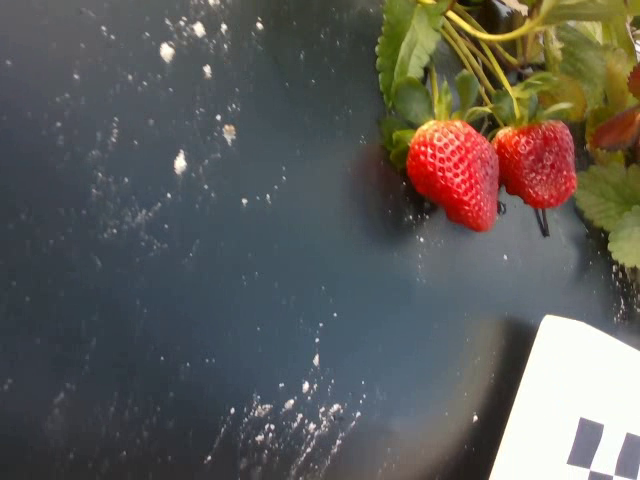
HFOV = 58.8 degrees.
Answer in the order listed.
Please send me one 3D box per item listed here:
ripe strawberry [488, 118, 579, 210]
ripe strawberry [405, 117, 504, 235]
[{"bbox_3d":[0.115,-0.040,0.290,0.042,0.053,0.034,5,-30,-30],"label":"ripe strawberry"},{"bbox_3d":[0.064,-0.026,0.250,0.050,0.061,0.045,11,-36,-30],"label":"ripe strawberry"}]
